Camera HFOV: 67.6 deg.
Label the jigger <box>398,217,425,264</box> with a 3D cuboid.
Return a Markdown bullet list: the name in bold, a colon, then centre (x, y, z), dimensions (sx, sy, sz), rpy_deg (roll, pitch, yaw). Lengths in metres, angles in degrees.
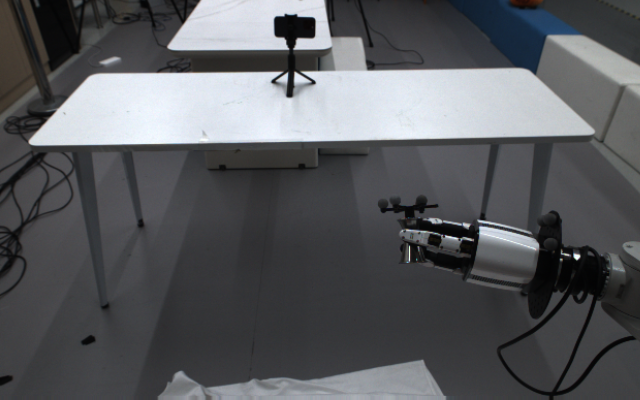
- **jigger**: centre (0.140, 0.062, 0.745), dimensions (0.043, 0.071, 0.043), rpy_deg (-2, -7, 0)
